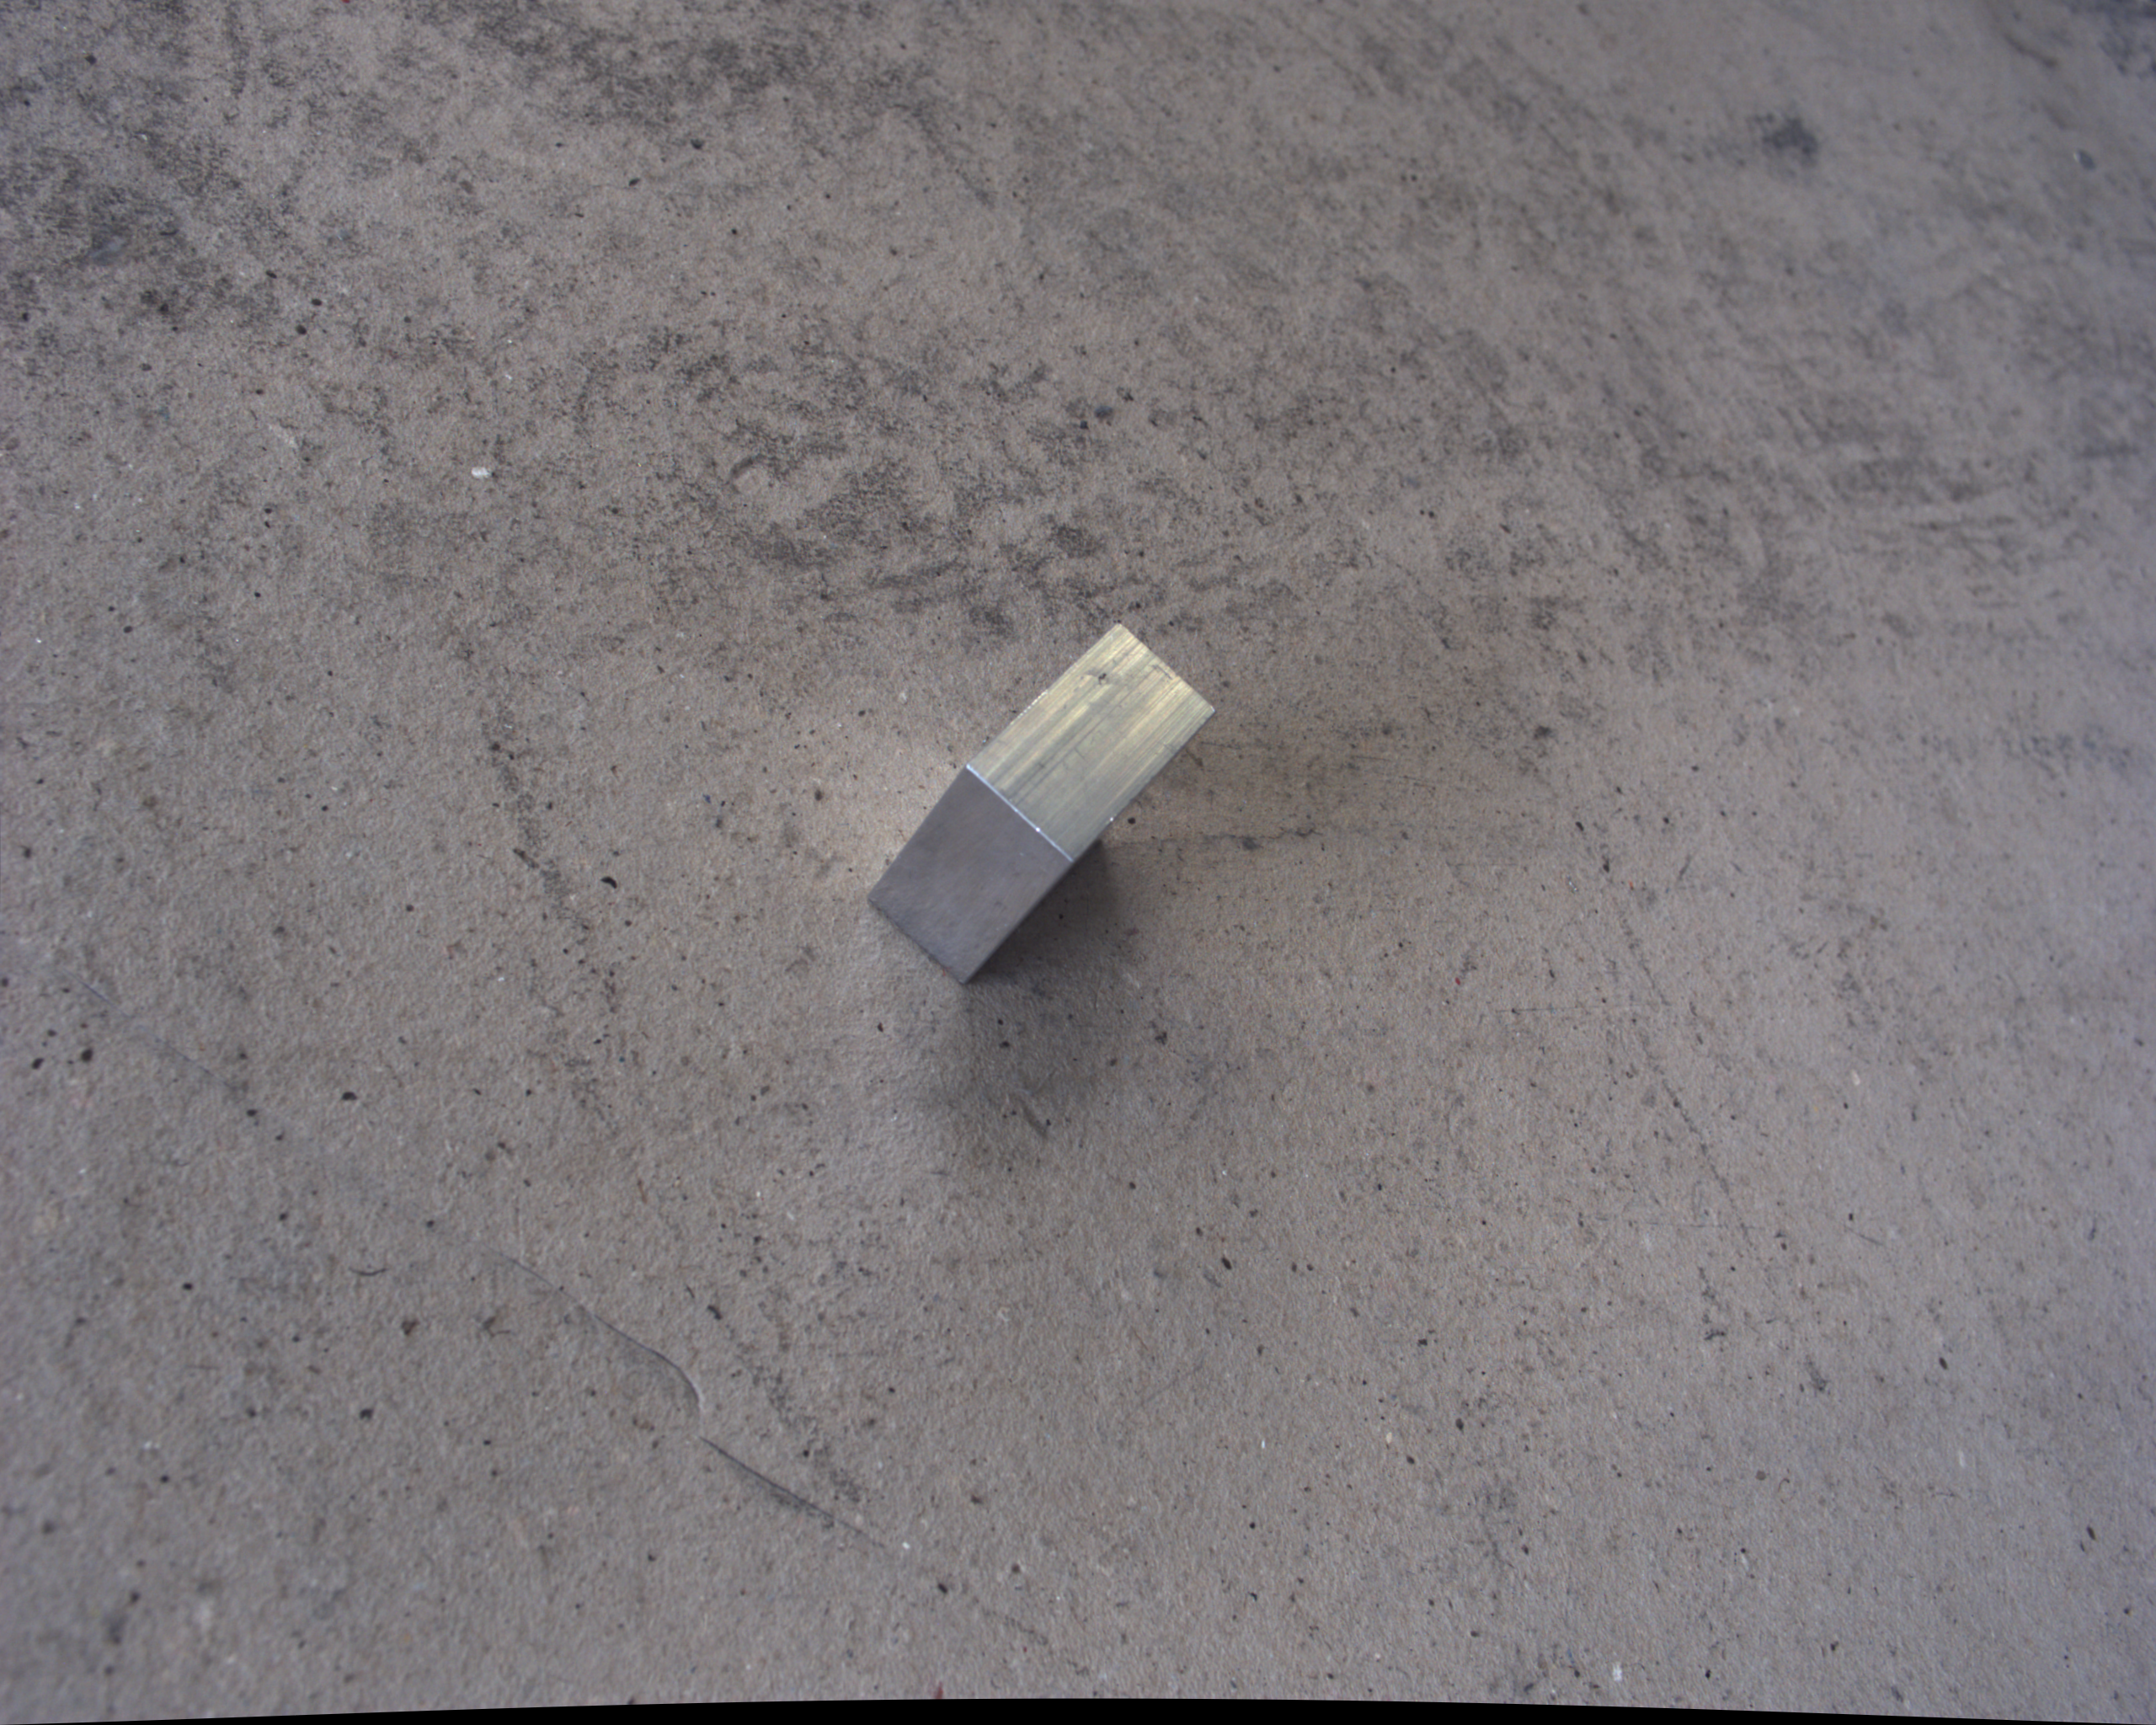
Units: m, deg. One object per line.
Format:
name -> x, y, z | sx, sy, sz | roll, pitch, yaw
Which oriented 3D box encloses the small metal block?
small metal block -> -0.007, -0.011, 0.392 | 0.025, 0.050, 0.050 | 43, 51, 1
